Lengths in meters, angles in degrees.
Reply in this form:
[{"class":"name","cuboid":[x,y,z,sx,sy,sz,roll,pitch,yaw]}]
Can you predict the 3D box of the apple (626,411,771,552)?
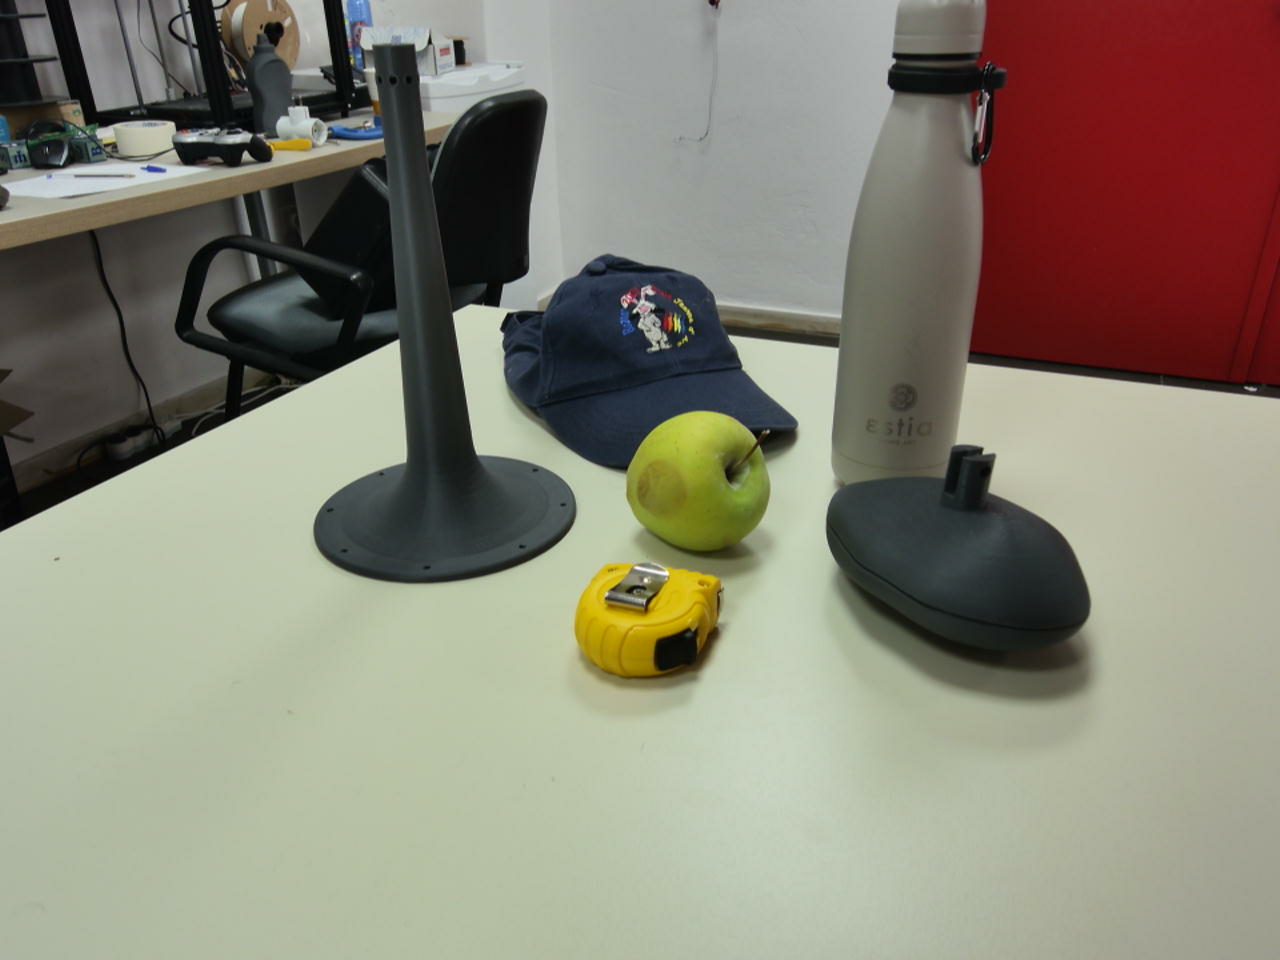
[{"class":"apple","cuboid":[0.032,-0.001,0.538,0.072,0.075,0.077,-10,26,-19]}]
